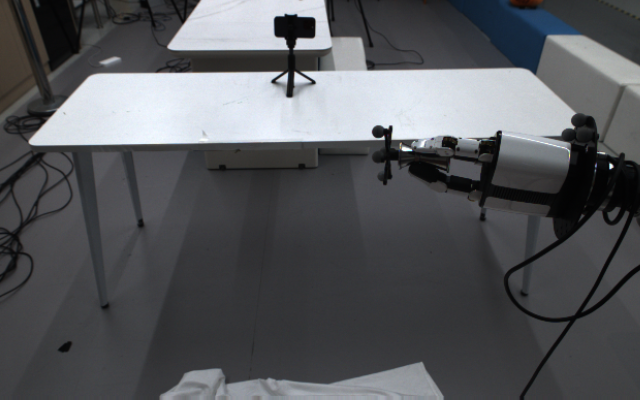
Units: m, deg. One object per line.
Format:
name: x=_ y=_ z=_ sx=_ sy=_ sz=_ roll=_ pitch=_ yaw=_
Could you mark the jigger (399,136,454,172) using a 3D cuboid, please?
jigger: x=0.152 y=-0.065 z=0.674 sx=0.071 sy=0.043 sz=0.043 roll=3 pitch=34 yaw=16
